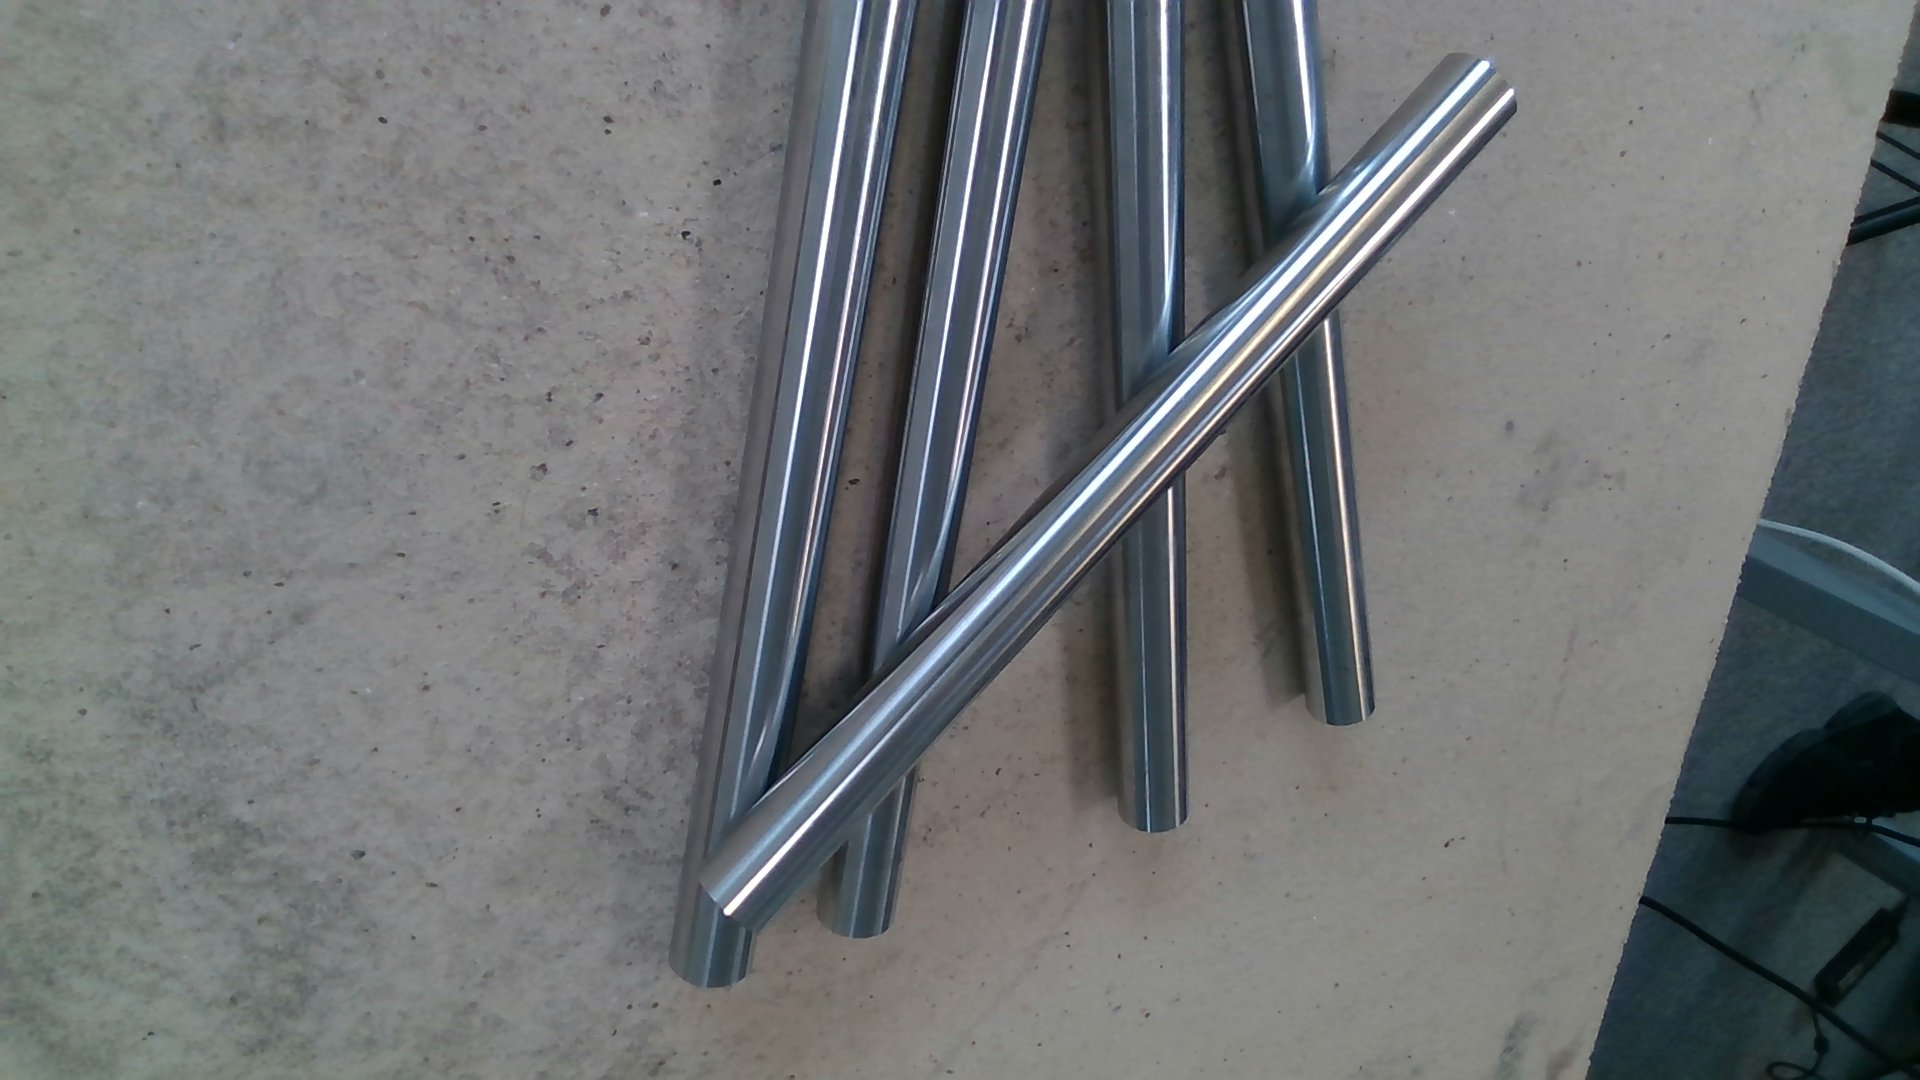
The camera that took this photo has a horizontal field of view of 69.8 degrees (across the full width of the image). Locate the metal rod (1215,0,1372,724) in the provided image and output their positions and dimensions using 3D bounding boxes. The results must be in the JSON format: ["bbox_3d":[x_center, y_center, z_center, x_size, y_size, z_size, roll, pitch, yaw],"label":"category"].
[{"bbox_3d":[0.105,-0.059,0.423,0.025,0.025,0.301,-28,127,-16],"label":"metal rod"}]

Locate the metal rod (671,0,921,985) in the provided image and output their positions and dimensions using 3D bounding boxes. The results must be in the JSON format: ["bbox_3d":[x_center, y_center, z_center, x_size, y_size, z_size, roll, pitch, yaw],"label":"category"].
[{"bbox_3d":[-0.045,-0.012,0.356,0.025,0.025,0.301,-2,116,-31],"label":"metal rod"}]

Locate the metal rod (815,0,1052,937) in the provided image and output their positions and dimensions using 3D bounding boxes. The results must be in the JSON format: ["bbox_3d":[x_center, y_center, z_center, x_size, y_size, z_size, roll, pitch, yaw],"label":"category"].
[{"bbox_3d":[-0.010,-0.020,0.374,0.025,0.025,0.301,-4,117,-30],"label":"metal rod"}]

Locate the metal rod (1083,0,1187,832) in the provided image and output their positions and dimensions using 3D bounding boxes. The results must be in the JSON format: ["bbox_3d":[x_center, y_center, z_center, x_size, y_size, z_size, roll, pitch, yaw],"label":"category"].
[{"bbox_3d":[0.054,-0.034,0.405,0.025,0.025,0.301,-20,124,-22],"label":"metal rod"}]

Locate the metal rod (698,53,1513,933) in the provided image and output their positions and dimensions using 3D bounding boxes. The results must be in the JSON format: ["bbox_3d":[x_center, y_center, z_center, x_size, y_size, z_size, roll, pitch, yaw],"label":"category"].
[{"bbox_3d":[0.040,-0.013,0.375,0.300,0.025,0.025,-48,129,-1],"label":"metal rod"}]
